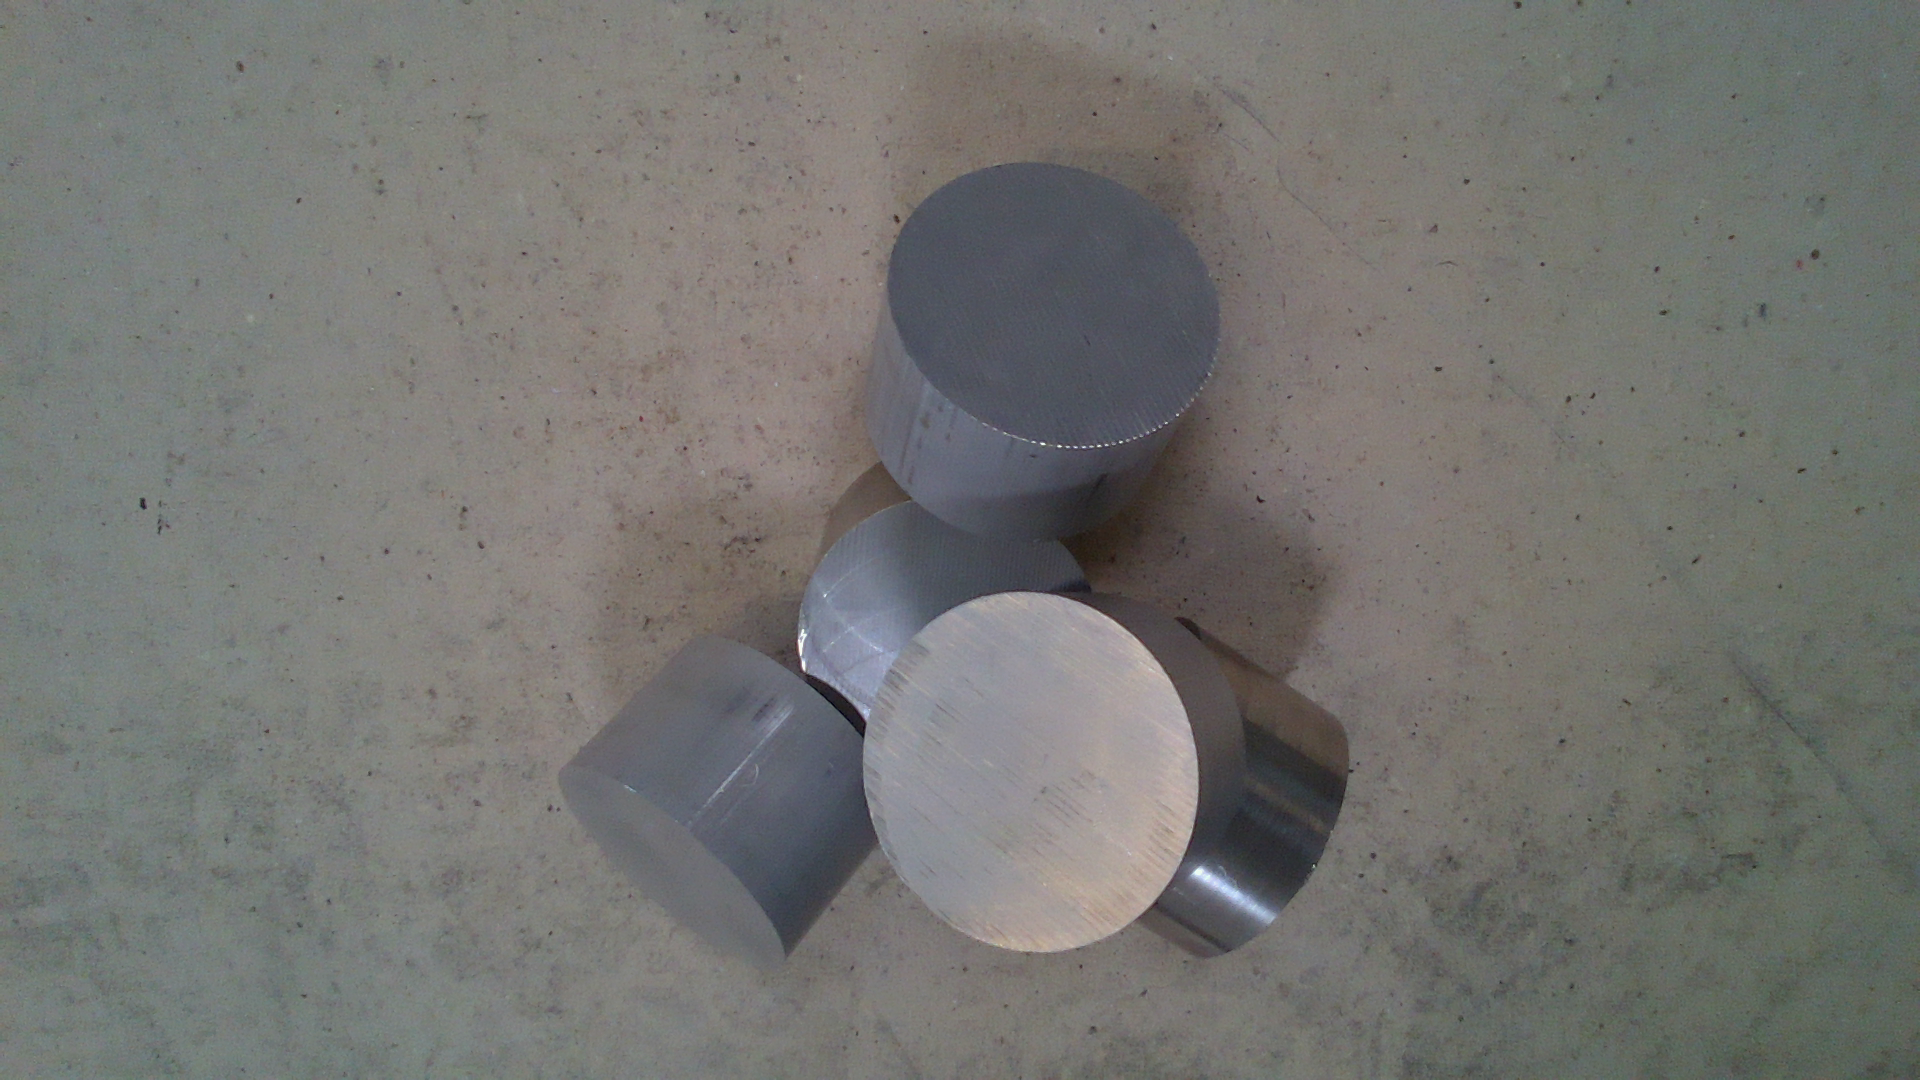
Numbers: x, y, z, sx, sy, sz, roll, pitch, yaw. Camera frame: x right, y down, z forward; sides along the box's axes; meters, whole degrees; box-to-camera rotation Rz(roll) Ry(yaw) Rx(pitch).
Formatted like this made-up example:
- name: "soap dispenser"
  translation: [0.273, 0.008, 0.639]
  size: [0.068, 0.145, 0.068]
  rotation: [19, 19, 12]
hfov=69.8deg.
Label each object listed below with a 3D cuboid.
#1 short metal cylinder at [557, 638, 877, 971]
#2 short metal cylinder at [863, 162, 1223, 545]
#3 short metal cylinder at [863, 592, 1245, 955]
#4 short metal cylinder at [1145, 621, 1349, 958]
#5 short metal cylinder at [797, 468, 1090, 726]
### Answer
- name: "short metal cylinder"
  translation: [-0.065, 0.074, 0.386]
  size: [0.080, 0.050, 0.080]
  rotation: [28, 146, 21]
- name: "short metal cylinder"
  translation: [0.019, -0.046, 0.342]
  size: [0.080, 0.080, 0.050]
  rotation: [13, 153, -5]
- name: "short metal cylinder"
  translation: [0.024, 0.053, 0.329]
  size: [0.080, 0.050, 0.080]
  rotation: [-1, 88, 22]
- name: "short metal cylinder"
  translation: [0.063, 0.070, 0.391]
  size: [0.050, 0.080, 0.080]
  rotation: [33, 107, -11]
- name: "short metal cylinder"
  translation: [-0.003, 0.018, 0.387]
  size: [0.080, 0.050, 0.080]
  rotation: [0, 110, 0]
